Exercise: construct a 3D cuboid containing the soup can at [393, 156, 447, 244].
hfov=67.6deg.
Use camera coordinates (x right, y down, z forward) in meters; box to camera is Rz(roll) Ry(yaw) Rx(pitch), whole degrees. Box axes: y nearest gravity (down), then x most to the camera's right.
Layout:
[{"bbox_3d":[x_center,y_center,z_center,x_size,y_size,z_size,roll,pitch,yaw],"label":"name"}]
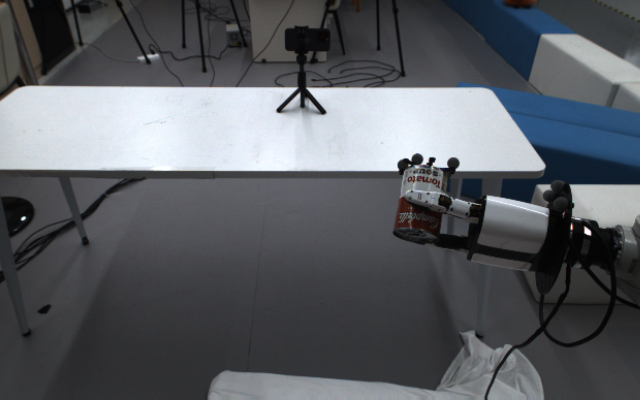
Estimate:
[{"bbox_3d":[0.151,0.004,0.718,0.067,0.067,0.101,9,72,10],"label":"soup can"}]
